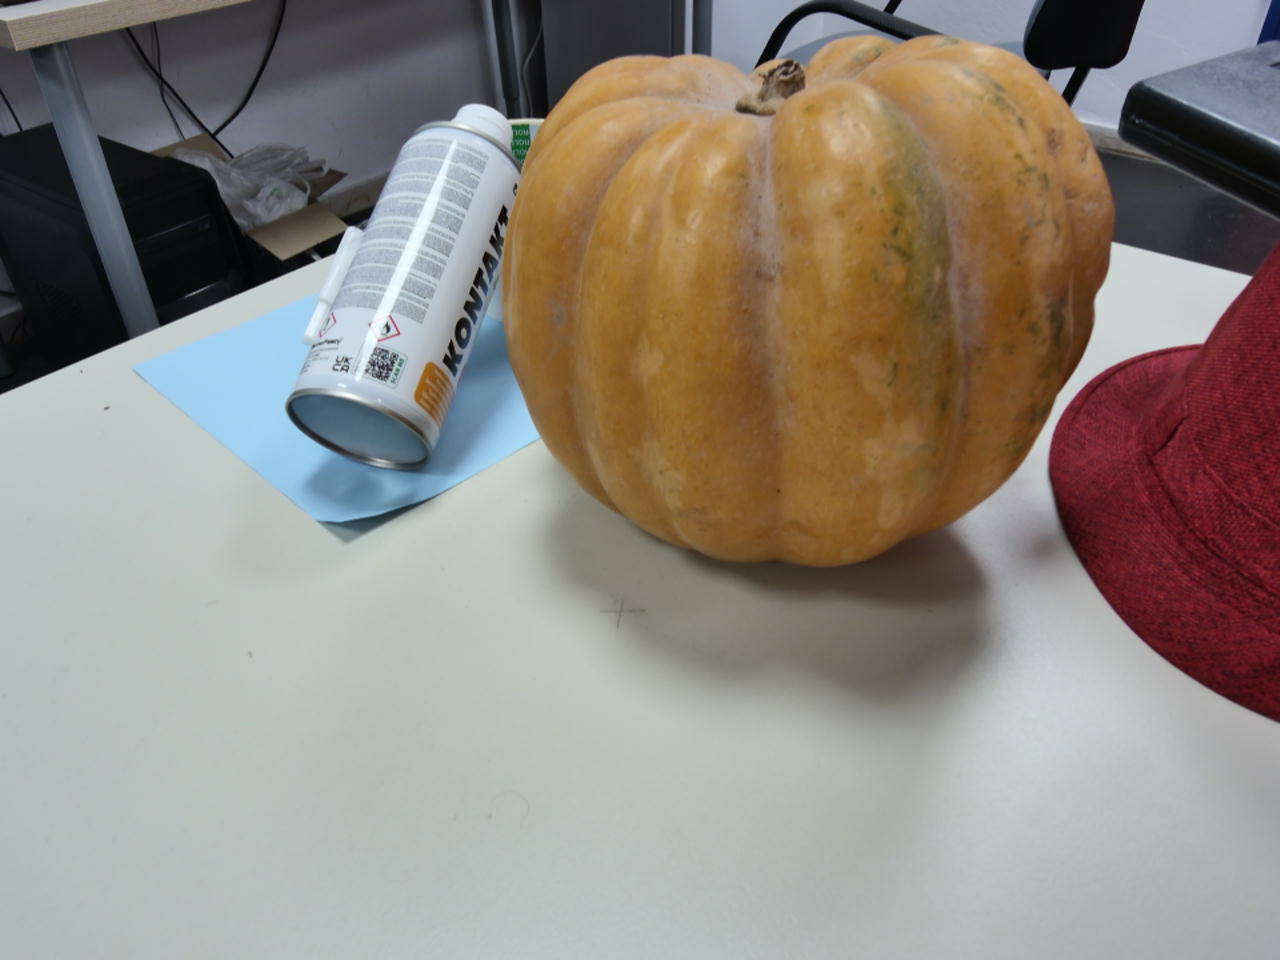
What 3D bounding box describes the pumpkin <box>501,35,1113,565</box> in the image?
[{"bbox_3d":[0.059,-0.071,0.393,0.230,0.194,0.230,0,36,0],"label":"pumpkin"}]
